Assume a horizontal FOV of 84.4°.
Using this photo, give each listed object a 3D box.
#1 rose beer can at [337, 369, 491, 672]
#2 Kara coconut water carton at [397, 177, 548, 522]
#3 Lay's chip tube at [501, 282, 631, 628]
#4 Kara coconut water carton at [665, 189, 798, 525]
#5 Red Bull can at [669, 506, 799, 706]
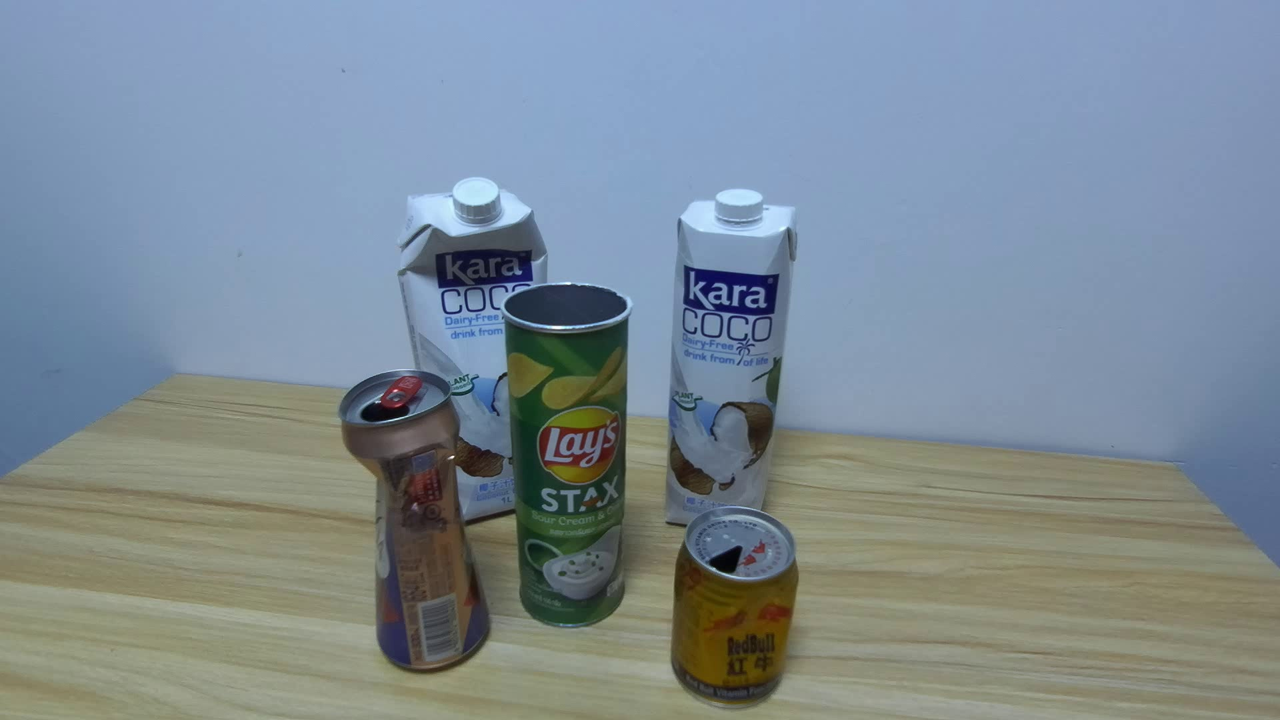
[{"bbox_3d":[-0.125,0.093,0.395,0.065,0.167,0.075,-6,26,-10],"label":"rose beer can"},{"bbox_3d":[-0.113,-0.007,0.512,0.100,0.244,0.071,-13,27,-24],"label":"Kara coconut water carton"},{"bbox_3d":[-0.041,0.059,0.422,0.071,0.202,0.071,1,26,0],"label":"Lay's chip tube"},{"bbox_3d":[0.061,0.004,0.495,0.077,0.245,0.075,8,24,14],"label":"Kara coconut water carton"},{"bbox_3d":[0.052,0.136,0.394,0.069,0.092,0.069,2,26,-1],"label":"Red Bull can"}]
